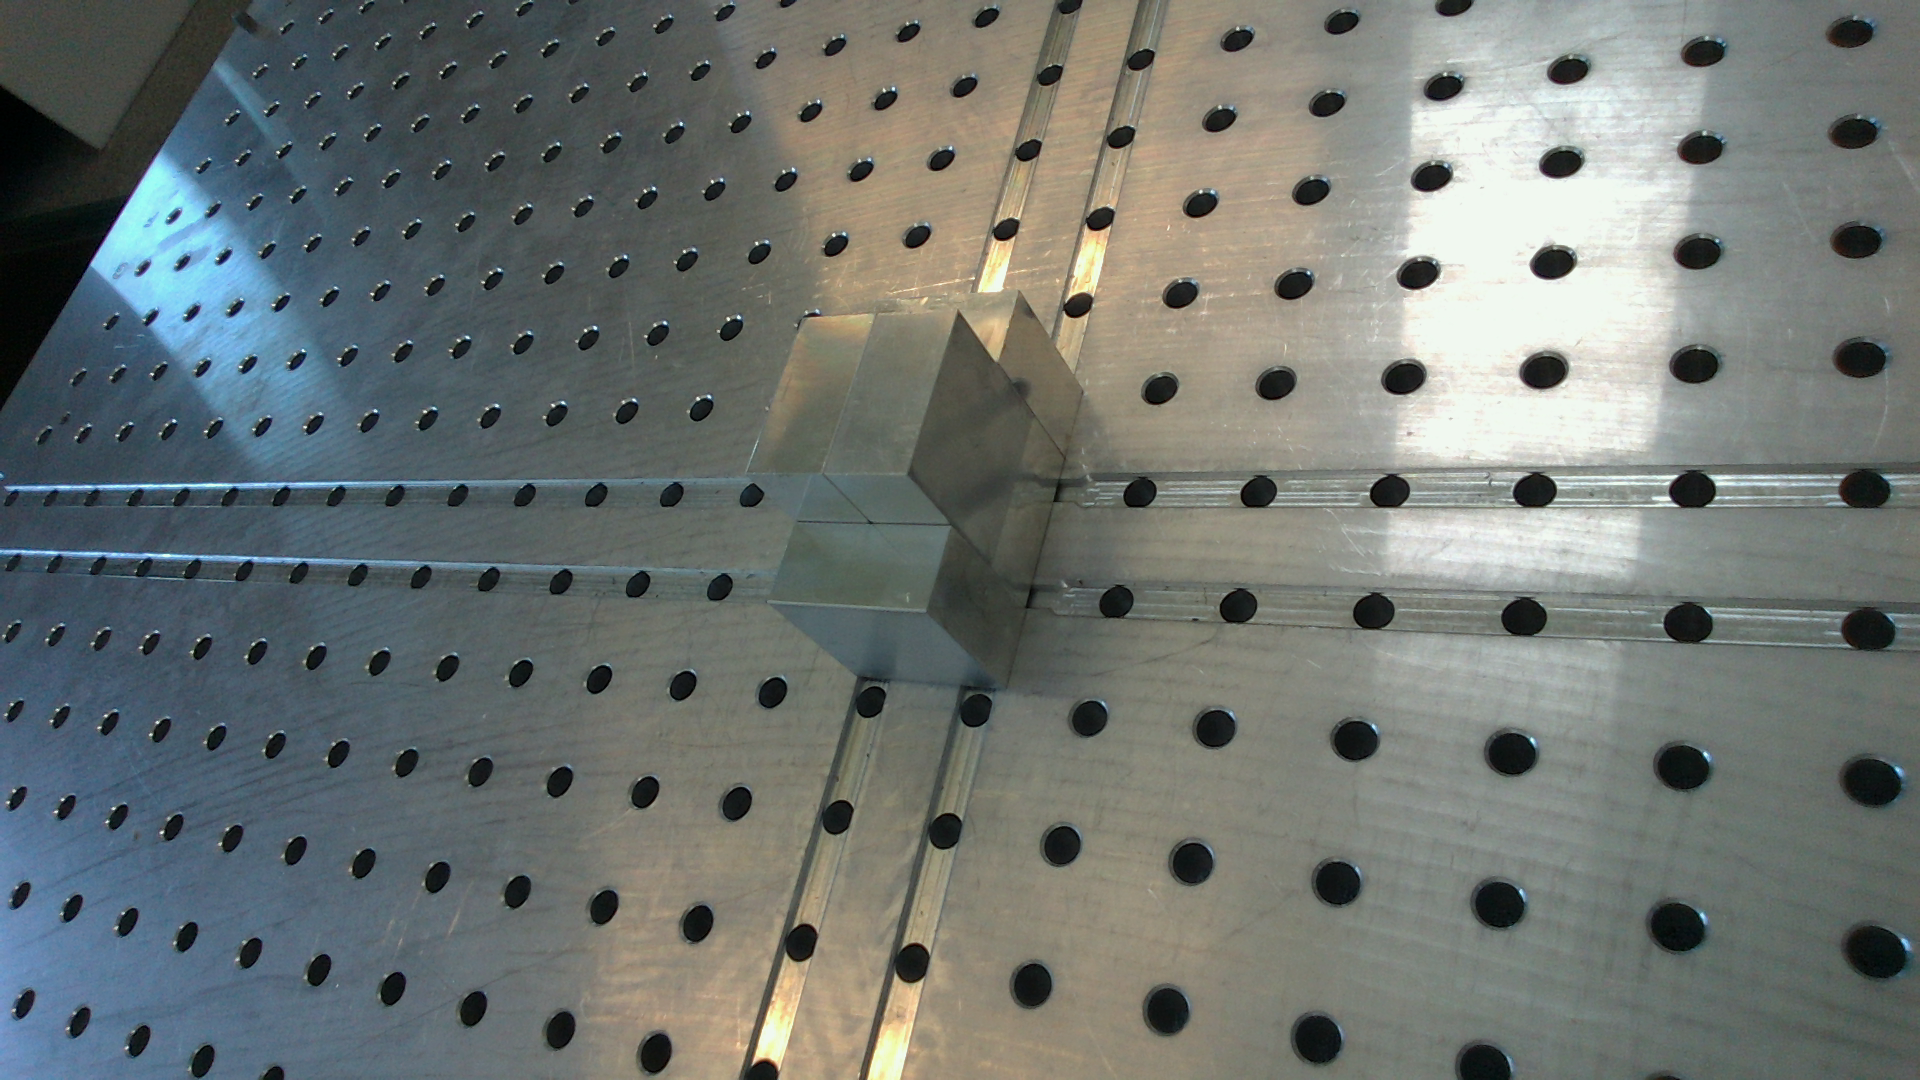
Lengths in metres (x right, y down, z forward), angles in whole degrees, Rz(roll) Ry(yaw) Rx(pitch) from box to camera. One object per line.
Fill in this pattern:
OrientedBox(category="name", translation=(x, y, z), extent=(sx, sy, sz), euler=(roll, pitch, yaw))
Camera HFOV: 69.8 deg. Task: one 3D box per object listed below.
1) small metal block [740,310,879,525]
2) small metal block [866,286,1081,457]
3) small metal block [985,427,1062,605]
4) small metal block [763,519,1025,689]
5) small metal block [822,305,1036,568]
OrientedBox(category="small metal block", translation=(-0.029, -0.027, 0.381), extent=(0.025, 0.050, 0.050), euler=(2, 62, 29))
OrientedBox(category="small metal block", translation=(0.002, -0.048, 0.409), extent=(0.050, 0.050, 0.025), euler=(2, 63, 29))
OrientedBox(category="small metal block", translation=(-0.003, -0.009, 0.404), extent=(0.050, 0.025, 0.050), euler=(1, 62, 30))
OrientedBox(category="small metal block", translation=(-0.017, 0.018, 0.378), extent=(0.050, 0.050, 0.025), euler=(1, 62, 29))
OrientedBox(category="small metal block", translation=(-0.006, -0.027, 0.368), extent=(0.025, 0.050, 0.050), euler=(1, 62, 31))
